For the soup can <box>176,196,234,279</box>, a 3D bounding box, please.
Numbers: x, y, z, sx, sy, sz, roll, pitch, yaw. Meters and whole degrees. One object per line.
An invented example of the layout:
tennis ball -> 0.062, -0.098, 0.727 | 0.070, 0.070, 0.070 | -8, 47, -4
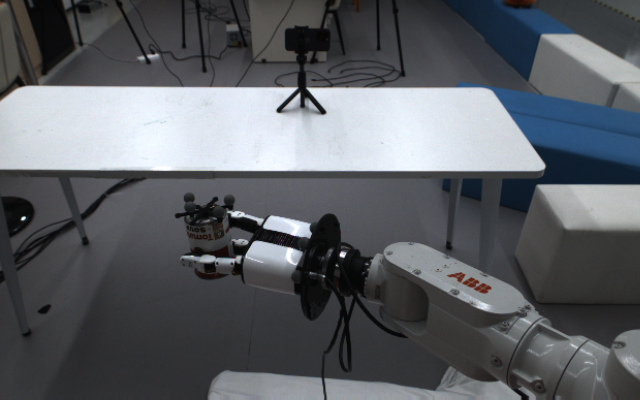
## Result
soup can -> -0.173, 0.068, 0.769 | 0.067, 0.101, 0.067 | -4, 26, 2
